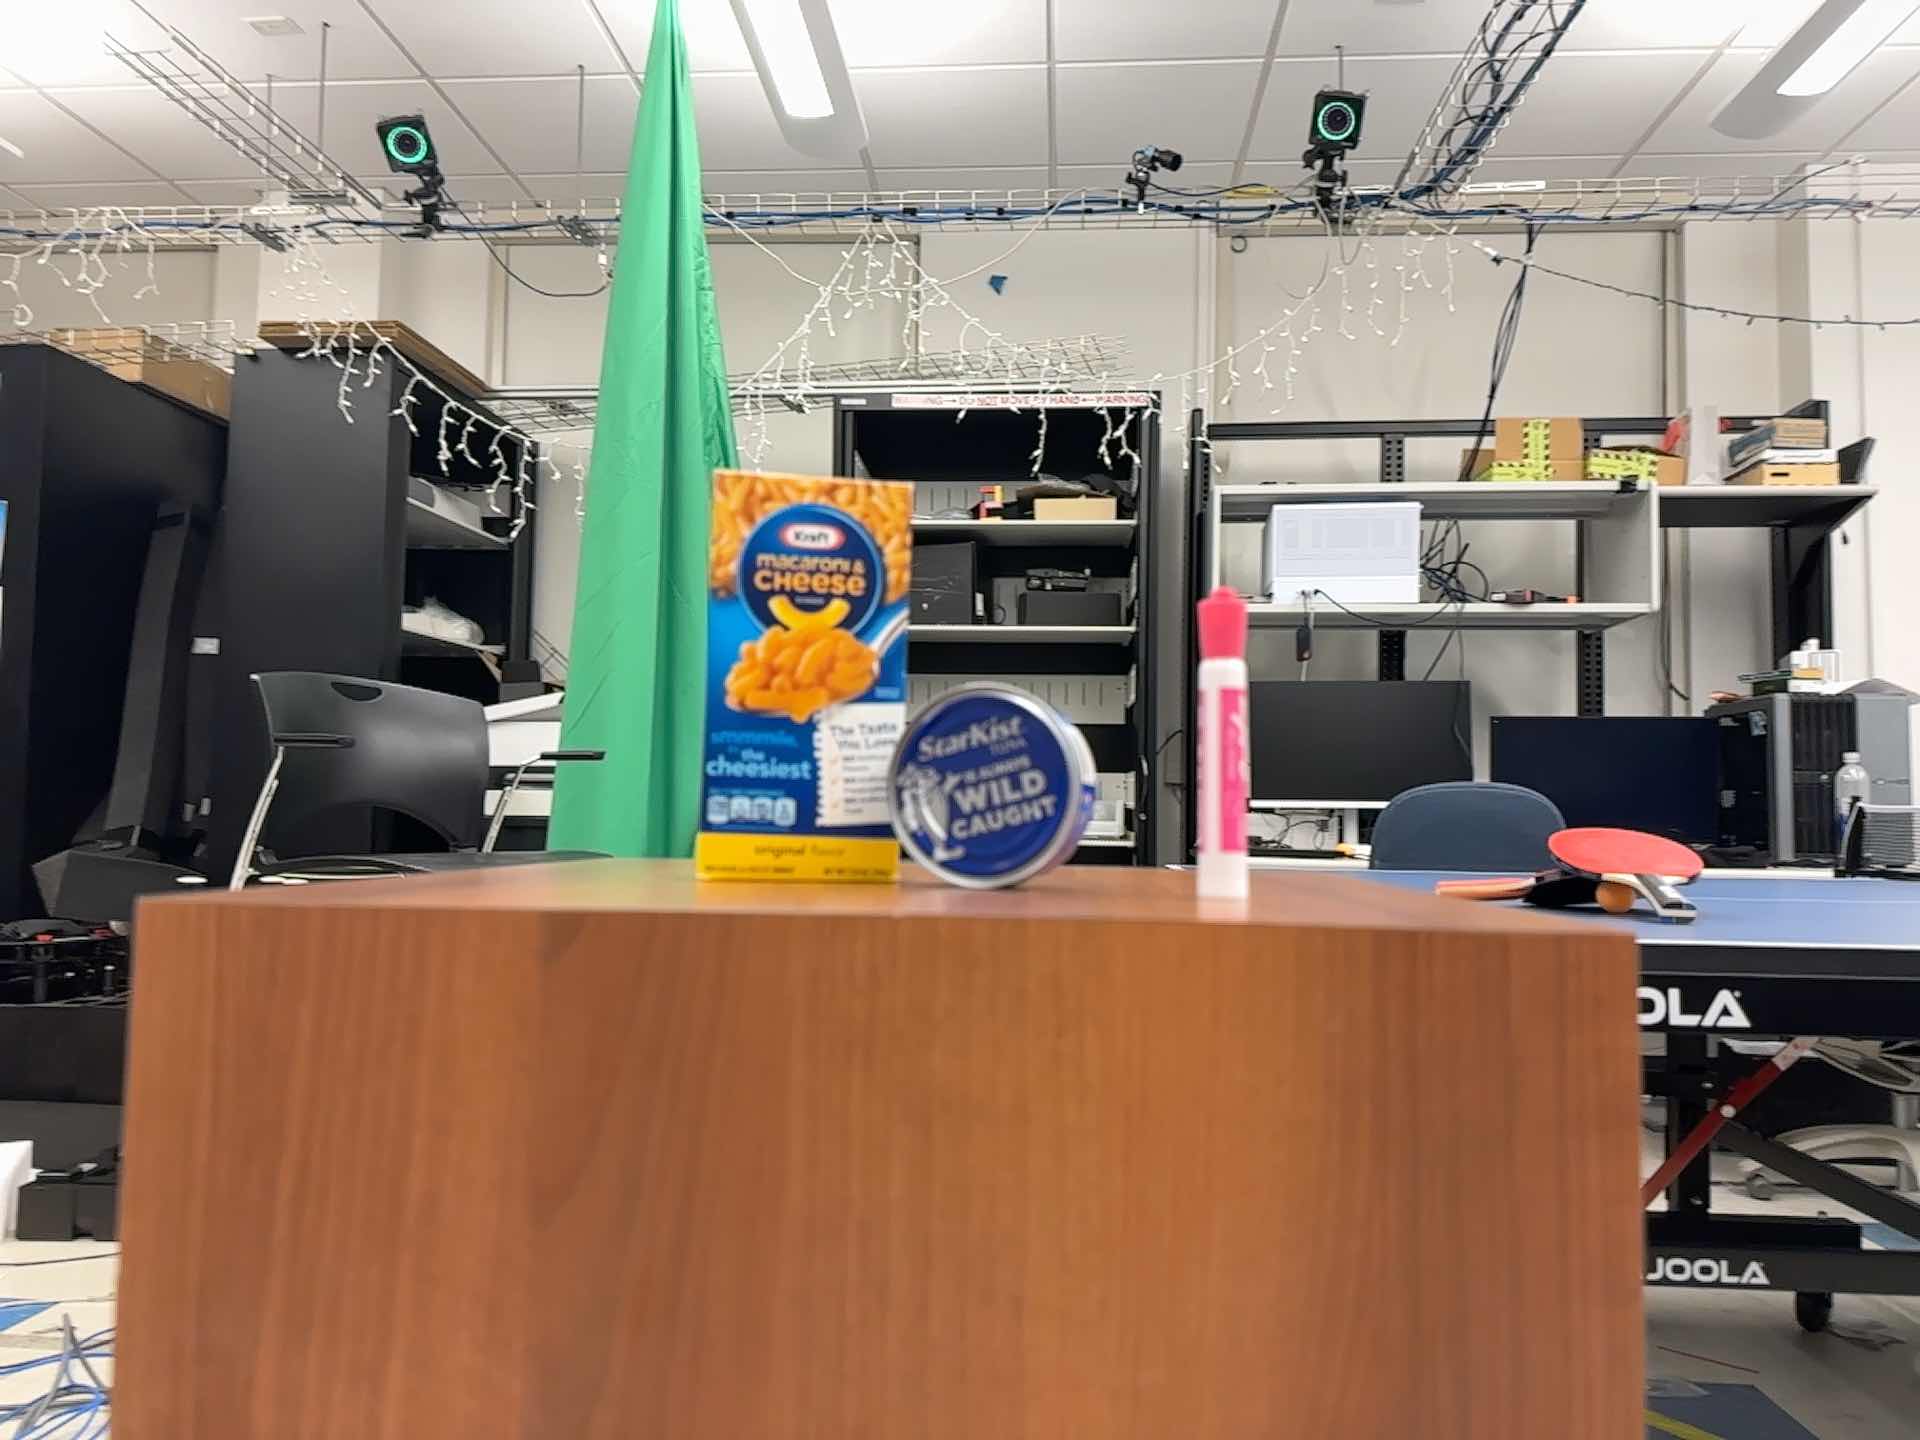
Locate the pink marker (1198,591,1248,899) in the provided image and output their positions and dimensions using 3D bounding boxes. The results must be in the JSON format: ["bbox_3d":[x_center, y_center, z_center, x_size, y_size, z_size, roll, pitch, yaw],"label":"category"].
[{"bbox_3d":[0.104,0.009,0.532,0.020,0.121,0.020,0,-2,0],"label":"pink marker"}]

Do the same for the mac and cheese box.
[{"bbox_3d":[-0.072,-0.018,0.617,0.088,0.181,0.035,1,-2,-4],"label":"mac and cheese box"}]

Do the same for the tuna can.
[{"bbox_3d":[0.014,0.029,0.582,0.083,0.083,0.034,0,-3,22],"label":"tuna can"}]
